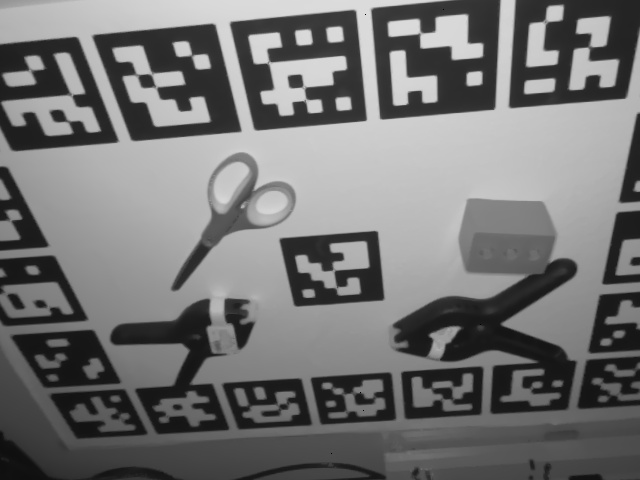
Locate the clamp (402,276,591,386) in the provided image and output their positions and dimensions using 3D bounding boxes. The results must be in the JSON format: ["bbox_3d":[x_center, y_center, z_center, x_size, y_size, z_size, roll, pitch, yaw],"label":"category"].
[{"bbox_3d":[0.192,0.113,0.766,0.202,0.037,0.164,-7,129,8],"label":"clamp"}]

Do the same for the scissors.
[{"bbox_3d":[-0.089,0.007,0.699,0.088,0.016,0.199,32,123,-12],"label":"scissors"}]

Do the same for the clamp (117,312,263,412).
[{"bbox_3d":[-0.133,0.128,0.788,0.163,0.037,0.122,-29,114,20],"label":"clamp"}]

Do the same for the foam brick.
[{"bbox_3d":[0.192,0.007,0.680,0.078,0.052,0.052,-1,126,-4],"label":"foam brick"}]
